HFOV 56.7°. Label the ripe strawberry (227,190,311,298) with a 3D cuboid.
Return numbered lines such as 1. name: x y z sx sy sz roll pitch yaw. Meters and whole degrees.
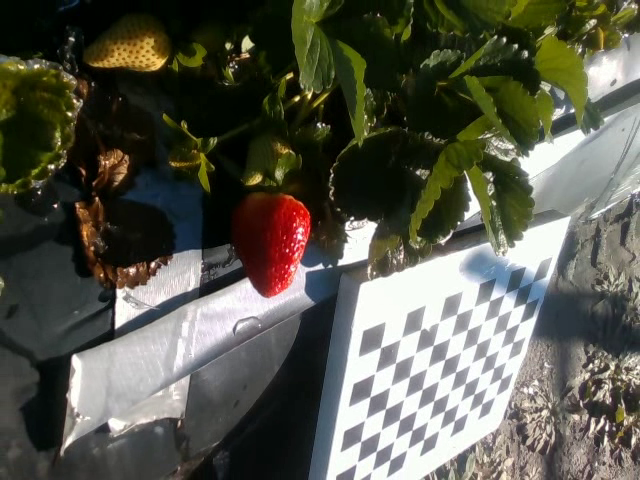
1. ripe strawberry: -0.026 0.008 0.368 0.057 0.065 0.061 -19 -28 28
